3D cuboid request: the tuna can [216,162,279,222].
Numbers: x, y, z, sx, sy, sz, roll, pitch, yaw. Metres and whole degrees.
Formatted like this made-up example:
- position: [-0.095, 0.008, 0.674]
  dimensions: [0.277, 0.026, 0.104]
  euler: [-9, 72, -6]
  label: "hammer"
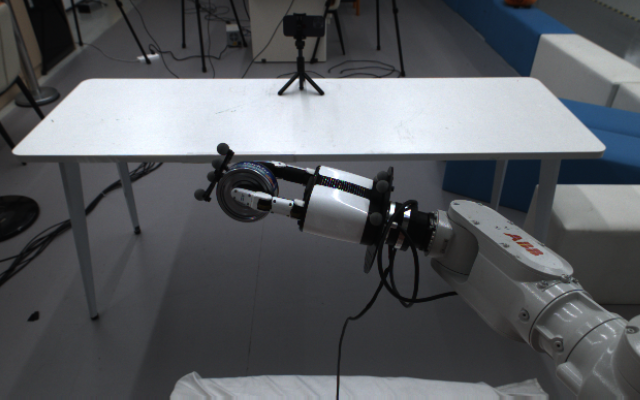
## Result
- position: [-0.102, -0.008, 0.696]
  dimensions: [0.085, 0.085, 0.034]
  euler: [3, 22, 2]
  label: "tuna can"
